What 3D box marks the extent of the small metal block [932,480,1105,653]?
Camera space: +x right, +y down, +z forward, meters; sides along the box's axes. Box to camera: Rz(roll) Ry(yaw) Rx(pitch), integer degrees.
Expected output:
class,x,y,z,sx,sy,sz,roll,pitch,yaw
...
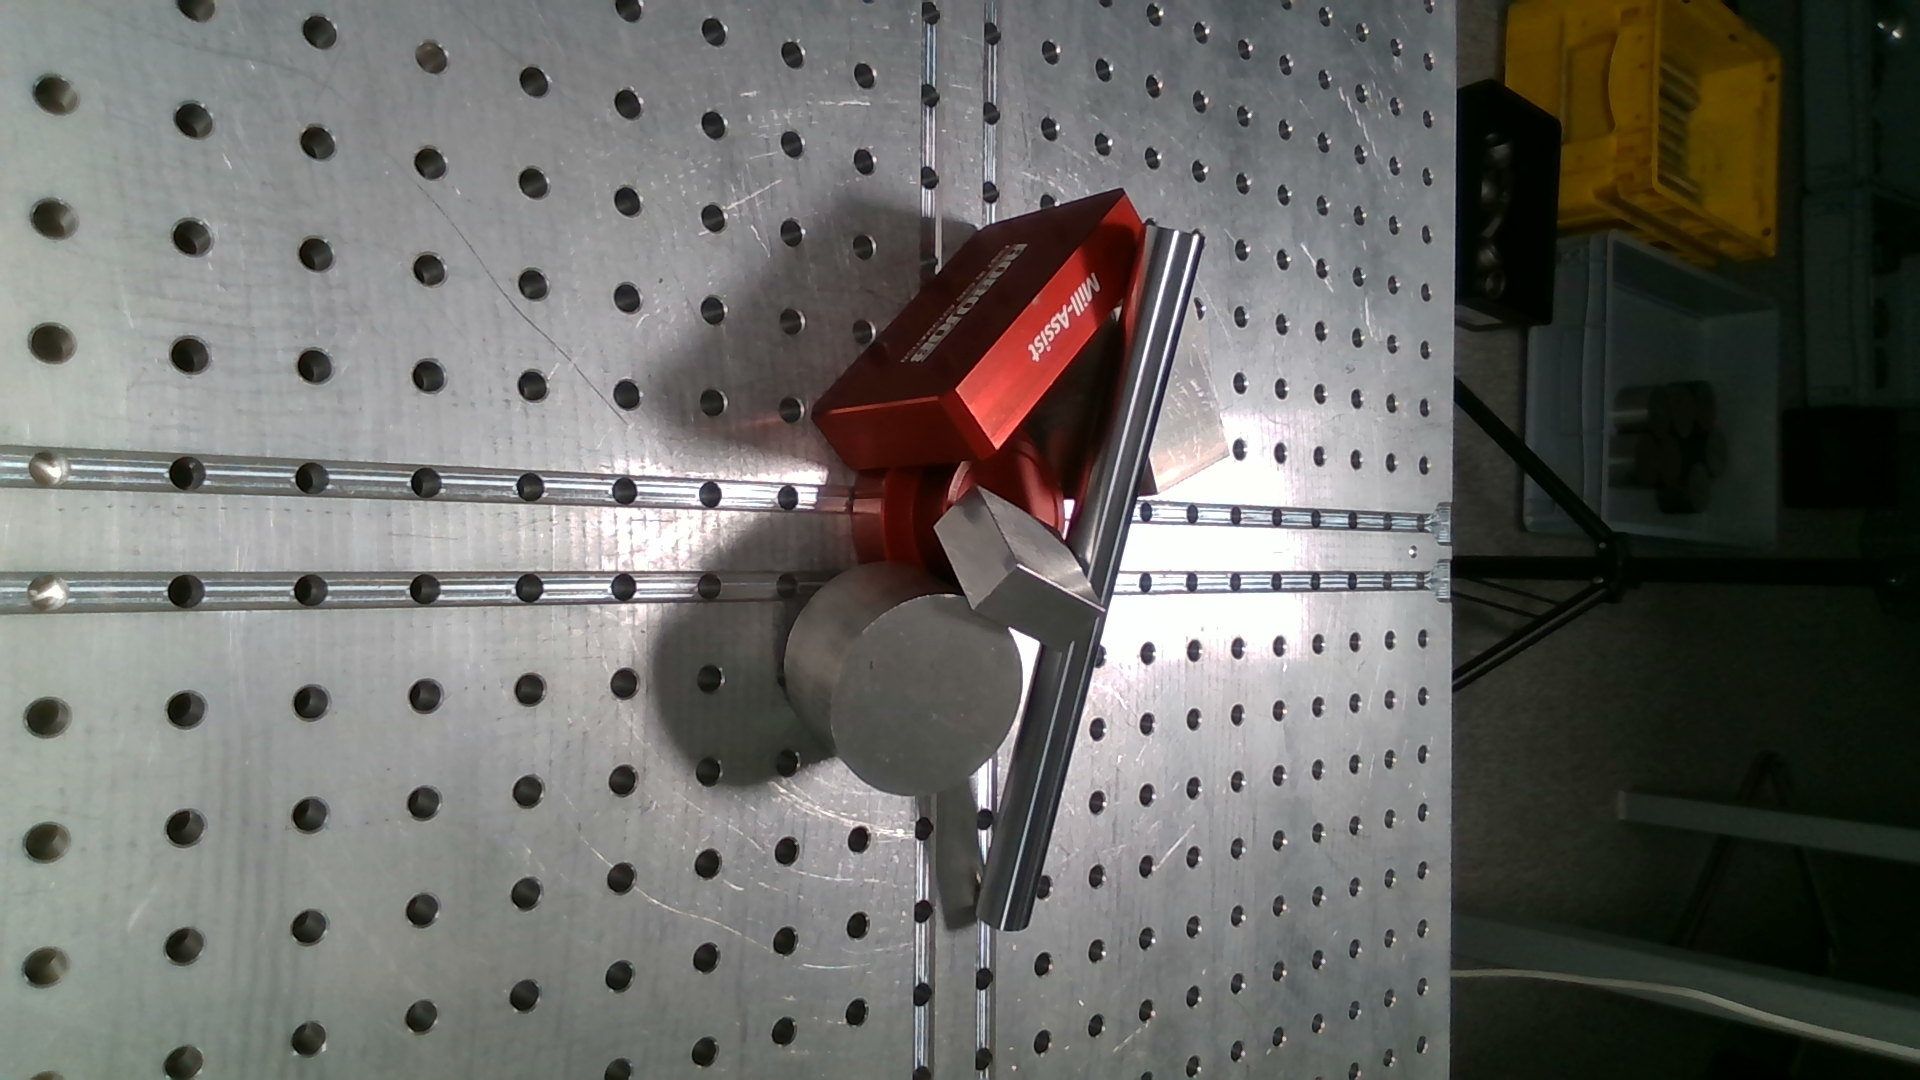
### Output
class,x,y,z,sx,sy,sz,roll,pitch,yaw
small metal block,0.022,0.010,0.532,0.050,0.050,0.025,28,114,-39

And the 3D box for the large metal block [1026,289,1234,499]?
class,x,y,z,sx,sy,sz,roll,pitch,yaw
large metal block,0.064,-0.064,0.602,0.050,0.080,0.080,-27,107,-37

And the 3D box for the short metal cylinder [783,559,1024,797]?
class,x,y,z,sx,sy,sz,roll,pitch,yaw
short metal cylinder,-0.022,0.053,0.535,0.080,0.050,0.080,-8,108,-25

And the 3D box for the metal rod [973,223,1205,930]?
class,x,y,z,sx,sy,sz,roll,pitch,yaw
metal rod,0.050,0.023,0.566,0.025,0.025,0.300,0,110,-40

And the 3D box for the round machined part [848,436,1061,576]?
class,x,y,z,sx,sy,sz,roll,pitch,yaw
round machined part,0.004,-0.009,0.582,0.098,0.042,0.098,0,90,-40

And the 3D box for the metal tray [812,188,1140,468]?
class,x,y,z,sx,sy,sz,roll,pitch,yaw
metal tray,0.010,-0.084,0.551,0.130,0.090,0.030,-51,120,-28
